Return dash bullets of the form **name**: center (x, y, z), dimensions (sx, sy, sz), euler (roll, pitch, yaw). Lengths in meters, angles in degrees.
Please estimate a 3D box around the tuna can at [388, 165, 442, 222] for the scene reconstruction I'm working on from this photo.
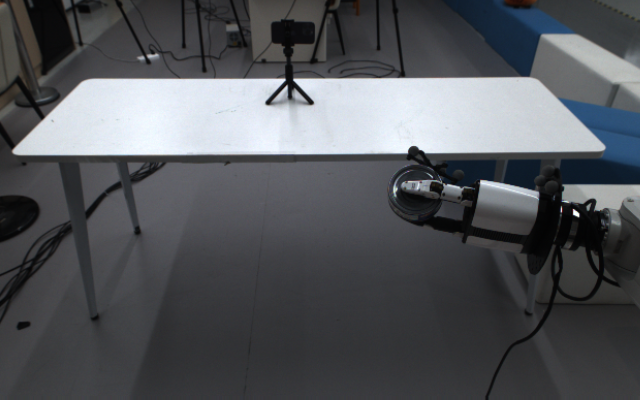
- **tuna can**: center (0.152, -0.005, 0.746), dimensions (0.085, 0.034, 0.085), euler (-4, 69, 10)
